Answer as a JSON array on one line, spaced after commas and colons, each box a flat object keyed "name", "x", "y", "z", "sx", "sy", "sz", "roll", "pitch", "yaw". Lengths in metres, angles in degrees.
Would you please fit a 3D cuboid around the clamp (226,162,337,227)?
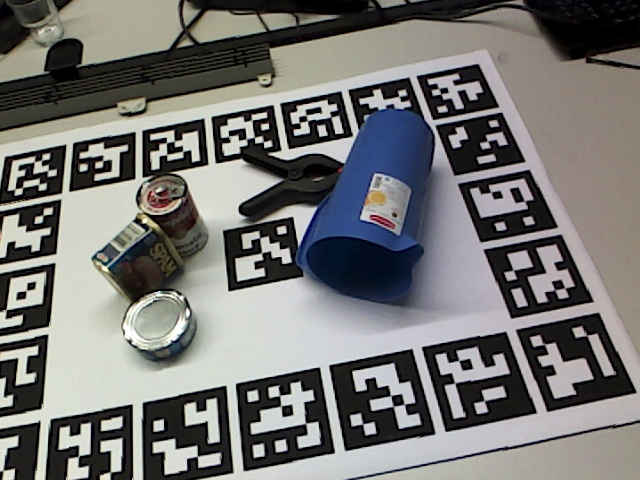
[{"name": "clamp", "x": -0.056, "y": -0.079, "z": 0.921, "sx": 0.165, "sy": 0.036, "sz": 0.122, "roll": -8, "pitch": 52, "yaw": -2}]

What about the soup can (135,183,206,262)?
[{"name": "soup can", "x": -0.204, "y": -0.022, "z": 0.855, "sx": 0.068, "sy": 0.101, "sz": 0.068, "roll": -5, "pitch": 58, "yaw": 7}]

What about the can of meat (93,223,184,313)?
[{"name": "can of meat", "x": -0.238, "y": 0.041, "z": 0.812, "sx": 0.058, "sy": 0.101, "sz": 0.083, "roll": 37, "pitch": 72, "yaw": 26}]

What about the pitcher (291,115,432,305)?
[{"name": "pitcher", "x": 0.067, "y": -0.046, "z": 0.808, "sx": 0.190, "sy": 0.132, "sz": 0.243, "roll": -8, "pitch": 45, "yaw": 30}]

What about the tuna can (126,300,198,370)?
[{"name": "tuna can", "x": -0.202, "y": 0.123, "z": 0.796, "sx": 0.086, "sy": 0.033, "sz": 0.086, "roll": -4, "pitch": 58, "yaw": 5}]
